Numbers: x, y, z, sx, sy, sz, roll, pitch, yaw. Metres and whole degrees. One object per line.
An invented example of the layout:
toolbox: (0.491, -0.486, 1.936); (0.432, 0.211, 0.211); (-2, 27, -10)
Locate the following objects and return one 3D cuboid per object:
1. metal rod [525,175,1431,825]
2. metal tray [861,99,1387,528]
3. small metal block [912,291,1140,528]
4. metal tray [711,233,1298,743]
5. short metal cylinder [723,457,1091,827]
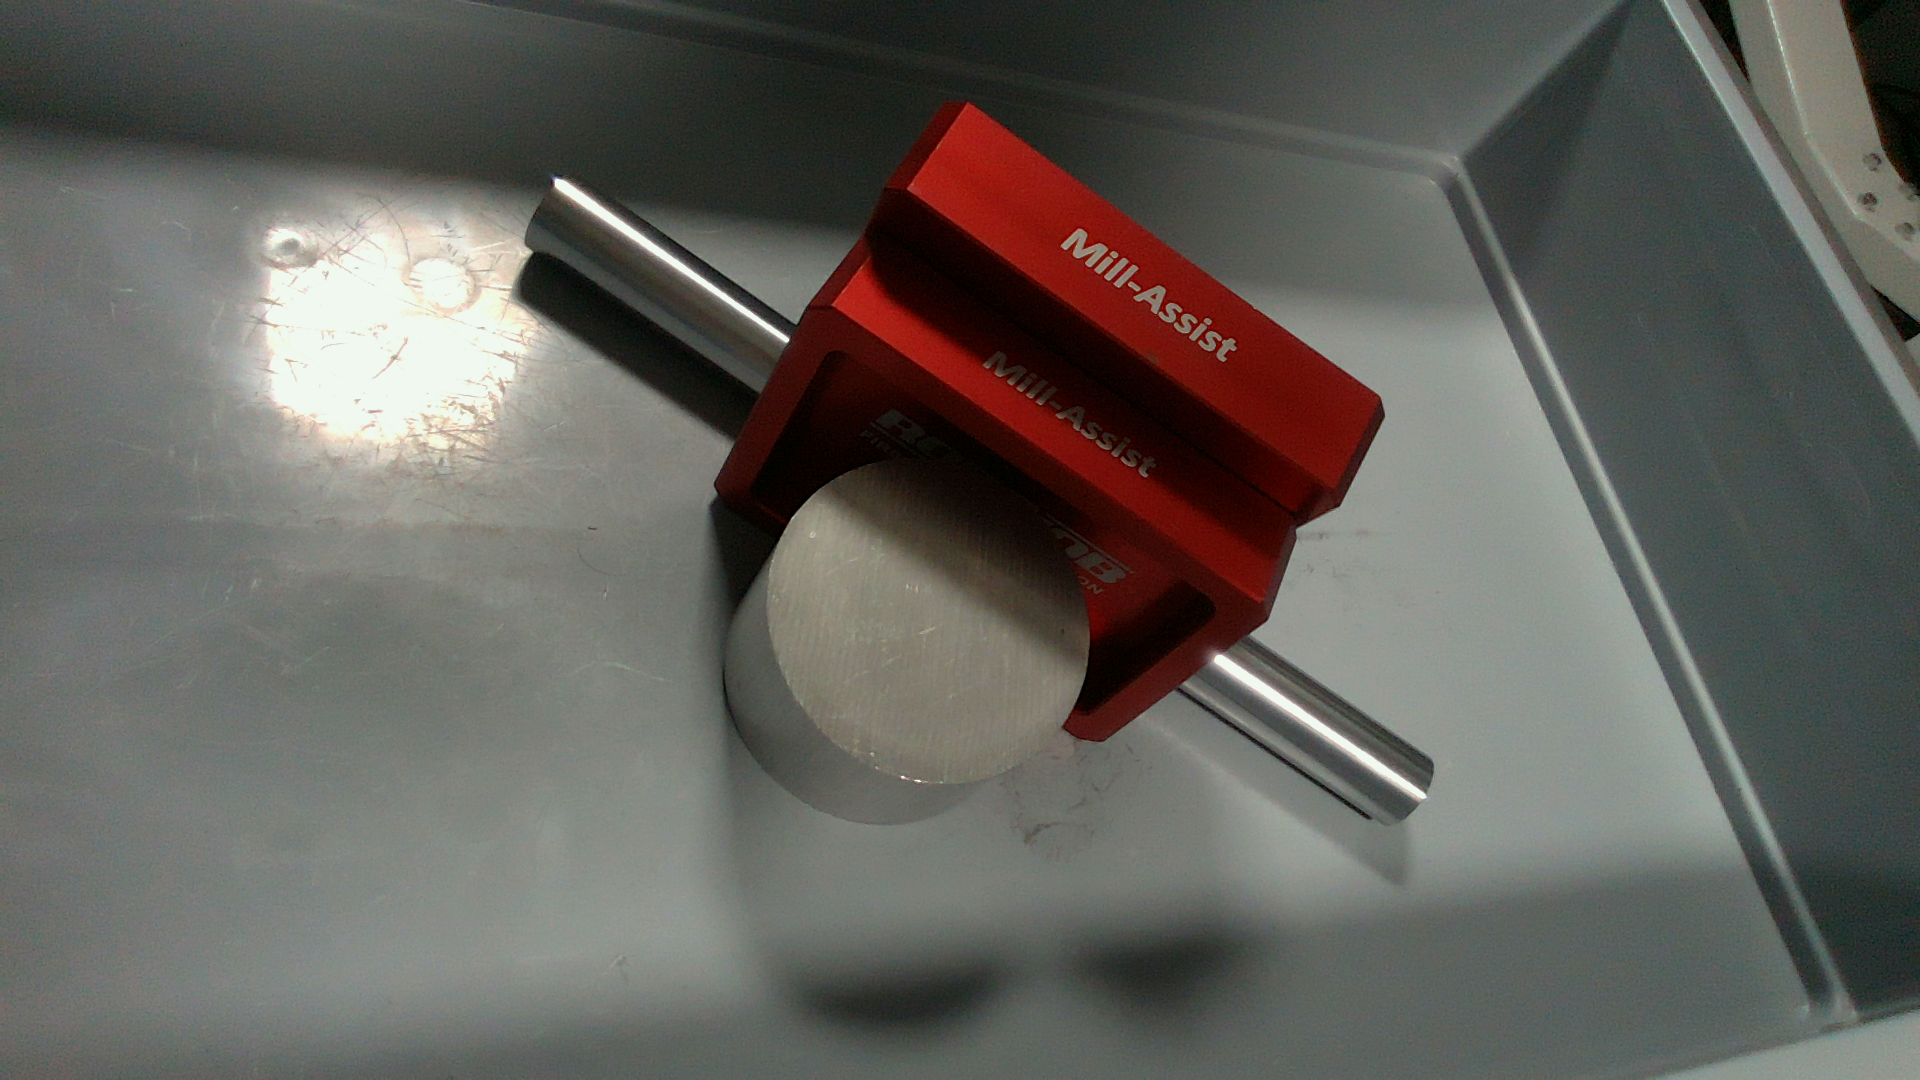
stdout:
metal rod: (0.010, -0.008, 0.400); (0.300, 0.025, 0.025); (34, 51, -6)
metal tray: (0.032, -0.045, 0.359); (0.130, 0.090, 0.030); (34, 68, -6)
small metal block: (0.021, -0.041, 0.424); (0.050, 0.025, 0.050); (35, 51, -5)
metal tray: (0.008, -0.008, 0.356); (0.130, 0.090, 0.030); (34, 51, -6)
short metal cylinder: (-0.014, 0.026, 0.341); (0.080, 0.050, 0.080); (8, 66, -19)
